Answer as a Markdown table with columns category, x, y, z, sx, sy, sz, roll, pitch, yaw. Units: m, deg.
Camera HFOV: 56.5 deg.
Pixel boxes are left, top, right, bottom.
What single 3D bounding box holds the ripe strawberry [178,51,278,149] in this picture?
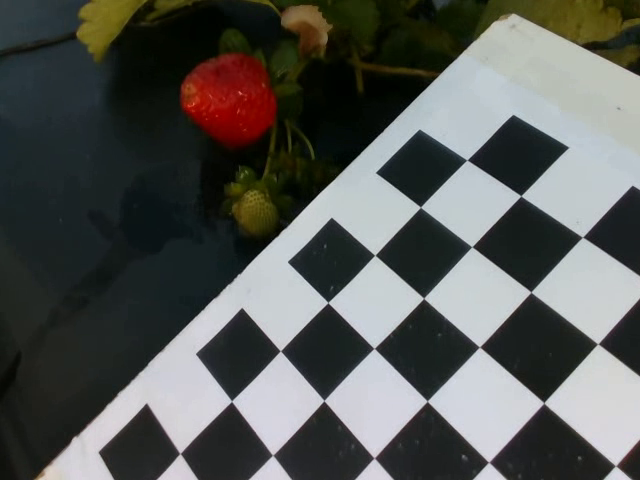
| category | x | y | z | sx | sy | sz | roll | pitch | yaw |
| --- | --- | --- | --- | --- | --- | --- | --- | --- | --- |
| ripe strawberry | -0.048 | -0.067 | 0.286 | 0.043 | 0.052 | 0.057 | 12 | 10 | 30 |
